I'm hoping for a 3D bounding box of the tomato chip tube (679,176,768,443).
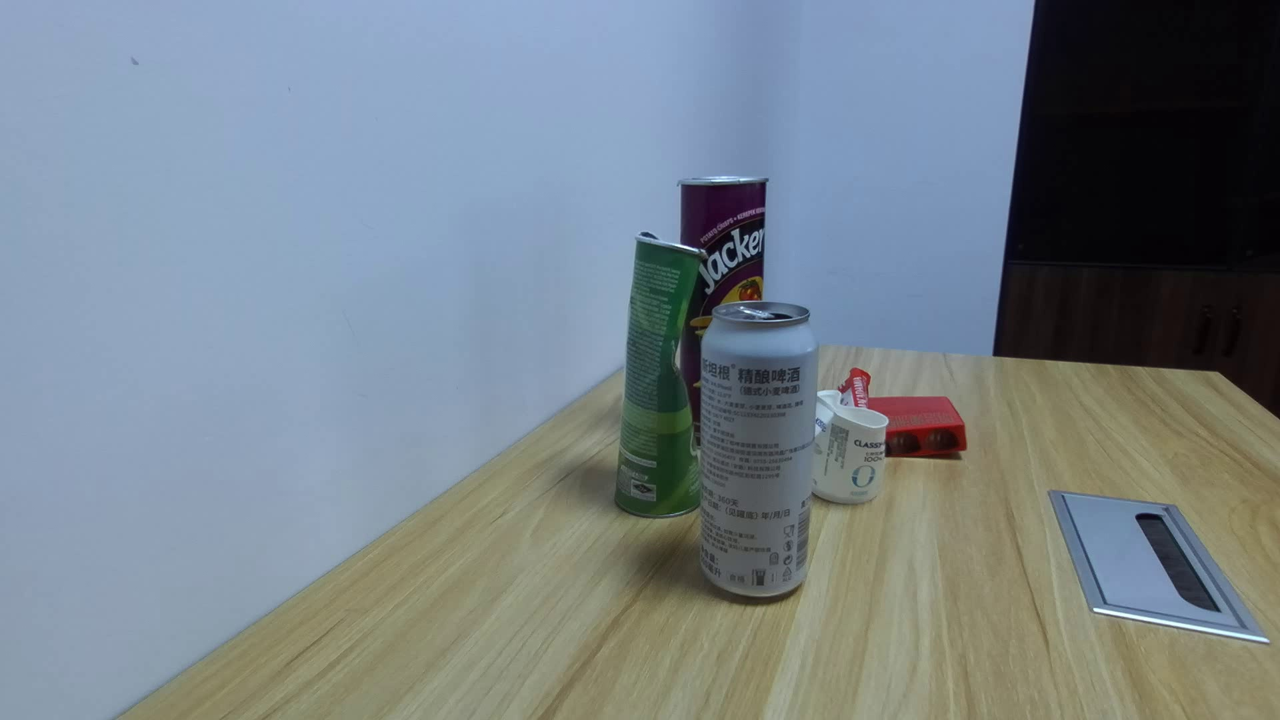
[{"bbox_3d":[0.073,-0.039,0.631,0.080,0.234,0.076,-4,14,-12],"label":"tomato chip tube"}]

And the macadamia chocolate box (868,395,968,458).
[{"bbox_3d":[0.228,0.057,0.649,0.126,0.056,0.112,6,33,13],"label":"macadamia chocolate box"}]

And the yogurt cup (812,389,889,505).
[{"bbox_3d":[0.159,0.066,0.541,0.054,0.071,0.075,-14,22,-38],"label":"yogurt cup"}]

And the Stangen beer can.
[{"bbox_3d":[0.069,0.054,0.418,0.067,0.171,0.067,-1,15,1],"label":"Stangen beer can"}]

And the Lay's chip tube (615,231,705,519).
[{"bbox_3d":[0.013,0.011,0.517,0.077,0.201,0.069,14,20,36],"label":"Lay's chip tube"}]
